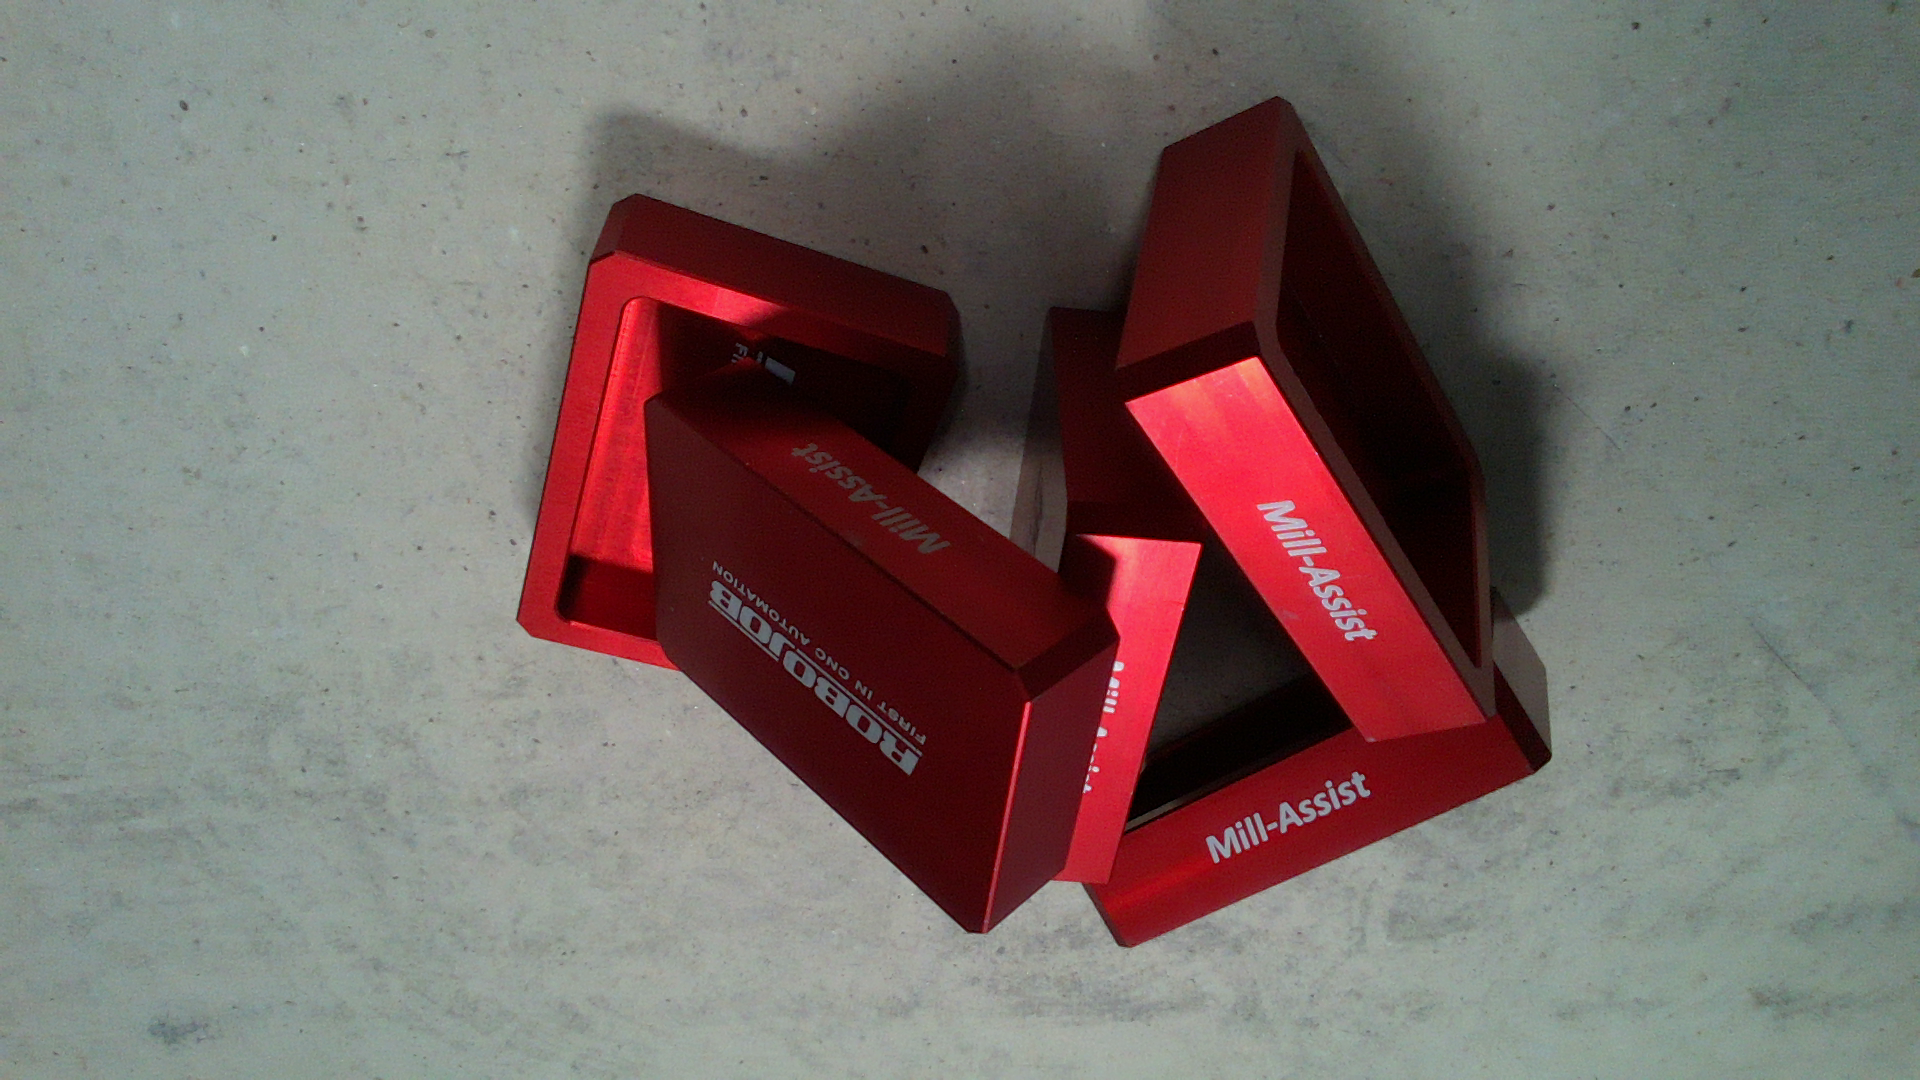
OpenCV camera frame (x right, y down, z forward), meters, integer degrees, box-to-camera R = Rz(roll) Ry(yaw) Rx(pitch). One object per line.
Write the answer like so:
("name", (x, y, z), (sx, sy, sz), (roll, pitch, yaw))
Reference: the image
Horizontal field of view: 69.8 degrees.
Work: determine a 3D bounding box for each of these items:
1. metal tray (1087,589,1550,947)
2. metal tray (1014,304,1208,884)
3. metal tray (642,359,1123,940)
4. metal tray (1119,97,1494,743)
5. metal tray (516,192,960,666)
("metal tray", (0.103, 0.065, 0.403), (0.130, 0.090, 0.030), (-31, 88, 24))
("metal tray", (0.031, 0.016, 0.362), (0.030, 0.090, 0.130), (5, 131, -4))
("metal tray", (-0.026, 0.025, 0.338), (0.130, 0.030, 0.090), (36, 137, 29))
("metal tray", (0.087, -0.025, 0.324), (0.030, 0.090, 0.130), (-17, 129, 32))
("metal tray", (-0.063, -0.018, 0.372), (0.090, 0.030, 0.130), (15, 128, -13))
